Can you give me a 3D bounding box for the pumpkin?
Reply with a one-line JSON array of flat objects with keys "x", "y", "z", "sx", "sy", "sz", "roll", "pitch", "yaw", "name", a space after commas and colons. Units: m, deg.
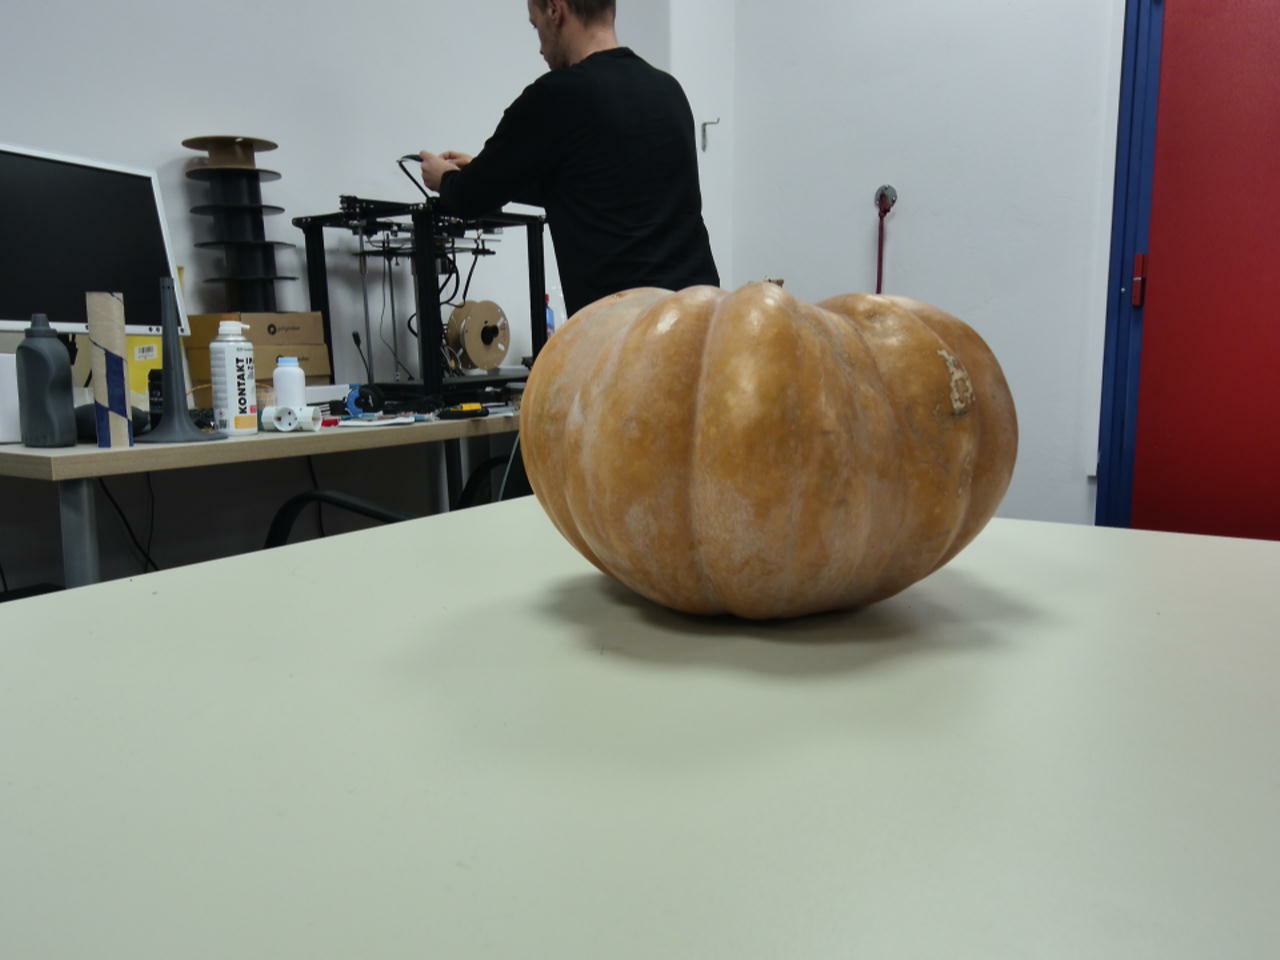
[{"x": 0.065, "y": -0.021, "z": 0.567, "sx": 0.277, "sy": 0.181, "sz": 0.277, "roll": 0, "pitch": 6, "yaw": 0, "name": "pumpkin"}]
